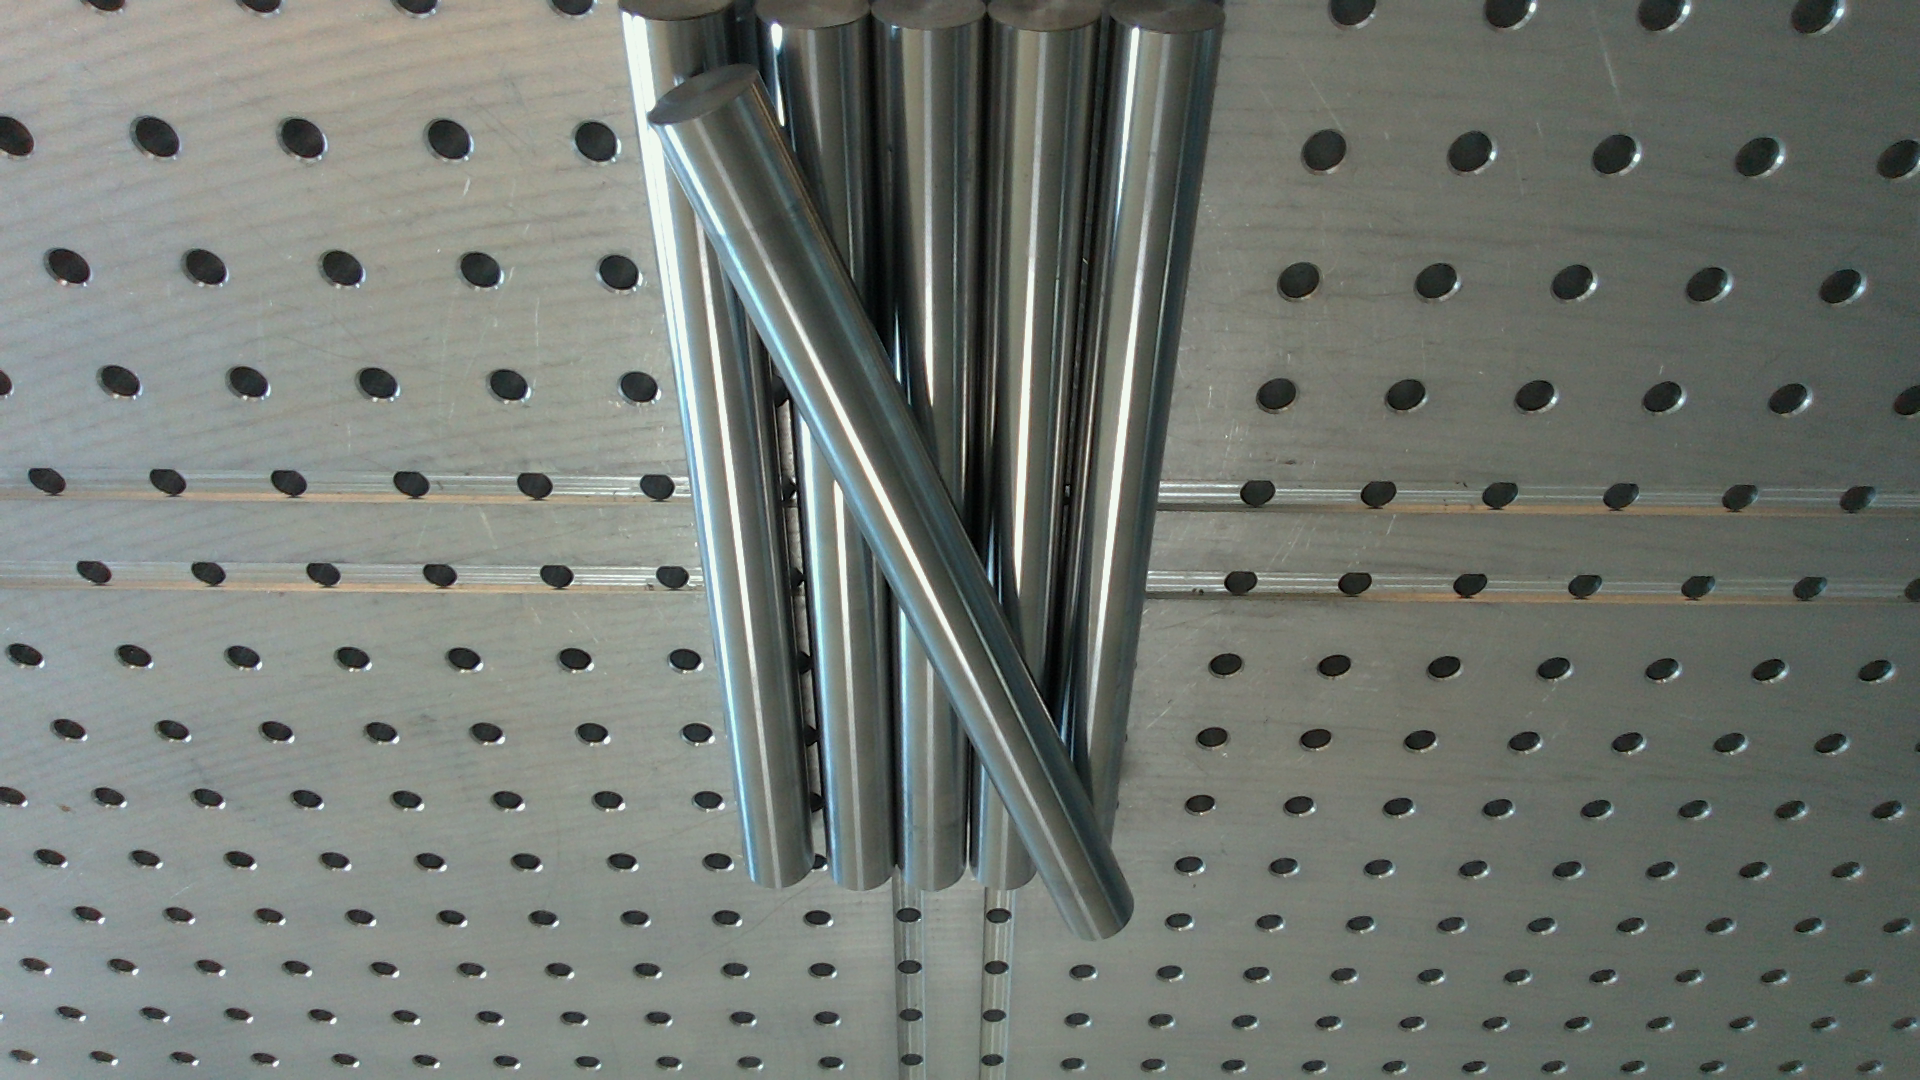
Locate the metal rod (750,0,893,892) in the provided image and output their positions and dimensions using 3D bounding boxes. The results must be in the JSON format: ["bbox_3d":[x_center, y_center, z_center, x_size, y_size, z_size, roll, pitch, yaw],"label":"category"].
[{"bbox_3d":[-0.034,0.000,0.392,0.025,0.025,0.300,0,130,0],"label":"metal rod"}]

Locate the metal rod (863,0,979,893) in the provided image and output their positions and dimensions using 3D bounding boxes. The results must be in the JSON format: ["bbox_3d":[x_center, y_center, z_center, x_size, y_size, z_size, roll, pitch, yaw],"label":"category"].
[{"bbox_3d":[-0.010,0.001,0.393,0.025,0.025,0.300,0,130,0],"label":"metal rod"}]

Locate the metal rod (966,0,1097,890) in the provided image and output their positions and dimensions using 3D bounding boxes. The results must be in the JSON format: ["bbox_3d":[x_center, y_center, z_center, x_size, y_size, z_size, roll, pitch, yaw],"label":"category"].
[{"bbox_3d":[0.016,0.000,0.394,0.025,0.025,0.300,0,130,0],"label":"metal rod"}]

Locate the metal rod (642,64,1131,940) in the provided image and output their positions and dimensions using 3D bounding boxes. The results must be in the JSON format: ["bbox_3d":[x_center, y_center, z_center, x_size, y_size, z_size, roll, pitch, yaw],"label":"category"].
[{"bbox_3d":[-0.004,0.016,0.374,0.025,0.025,0.300,-15,129,12],"label":"metal rod"}]

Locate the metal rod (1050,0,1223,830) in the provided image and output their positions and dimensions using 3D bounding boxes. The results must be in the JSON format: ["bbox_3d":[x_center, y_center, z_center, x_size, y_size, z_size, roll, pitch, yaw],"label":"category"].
[{"bbox_3d":[0.042,0.000,0.395,0.025,0.025,0.300,1,130,-1],"label":"metal rod"}]

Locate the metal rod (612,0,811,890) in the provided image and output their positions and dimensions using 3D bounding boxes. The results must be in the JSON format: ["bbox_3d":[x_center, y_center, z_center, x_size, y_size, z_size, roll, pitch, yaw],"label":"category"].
[{"bbox_3d":[-0.063,-0.001,0.391,0.025,0.025,0.300,0,130,0],"label":"metal rod"}]
